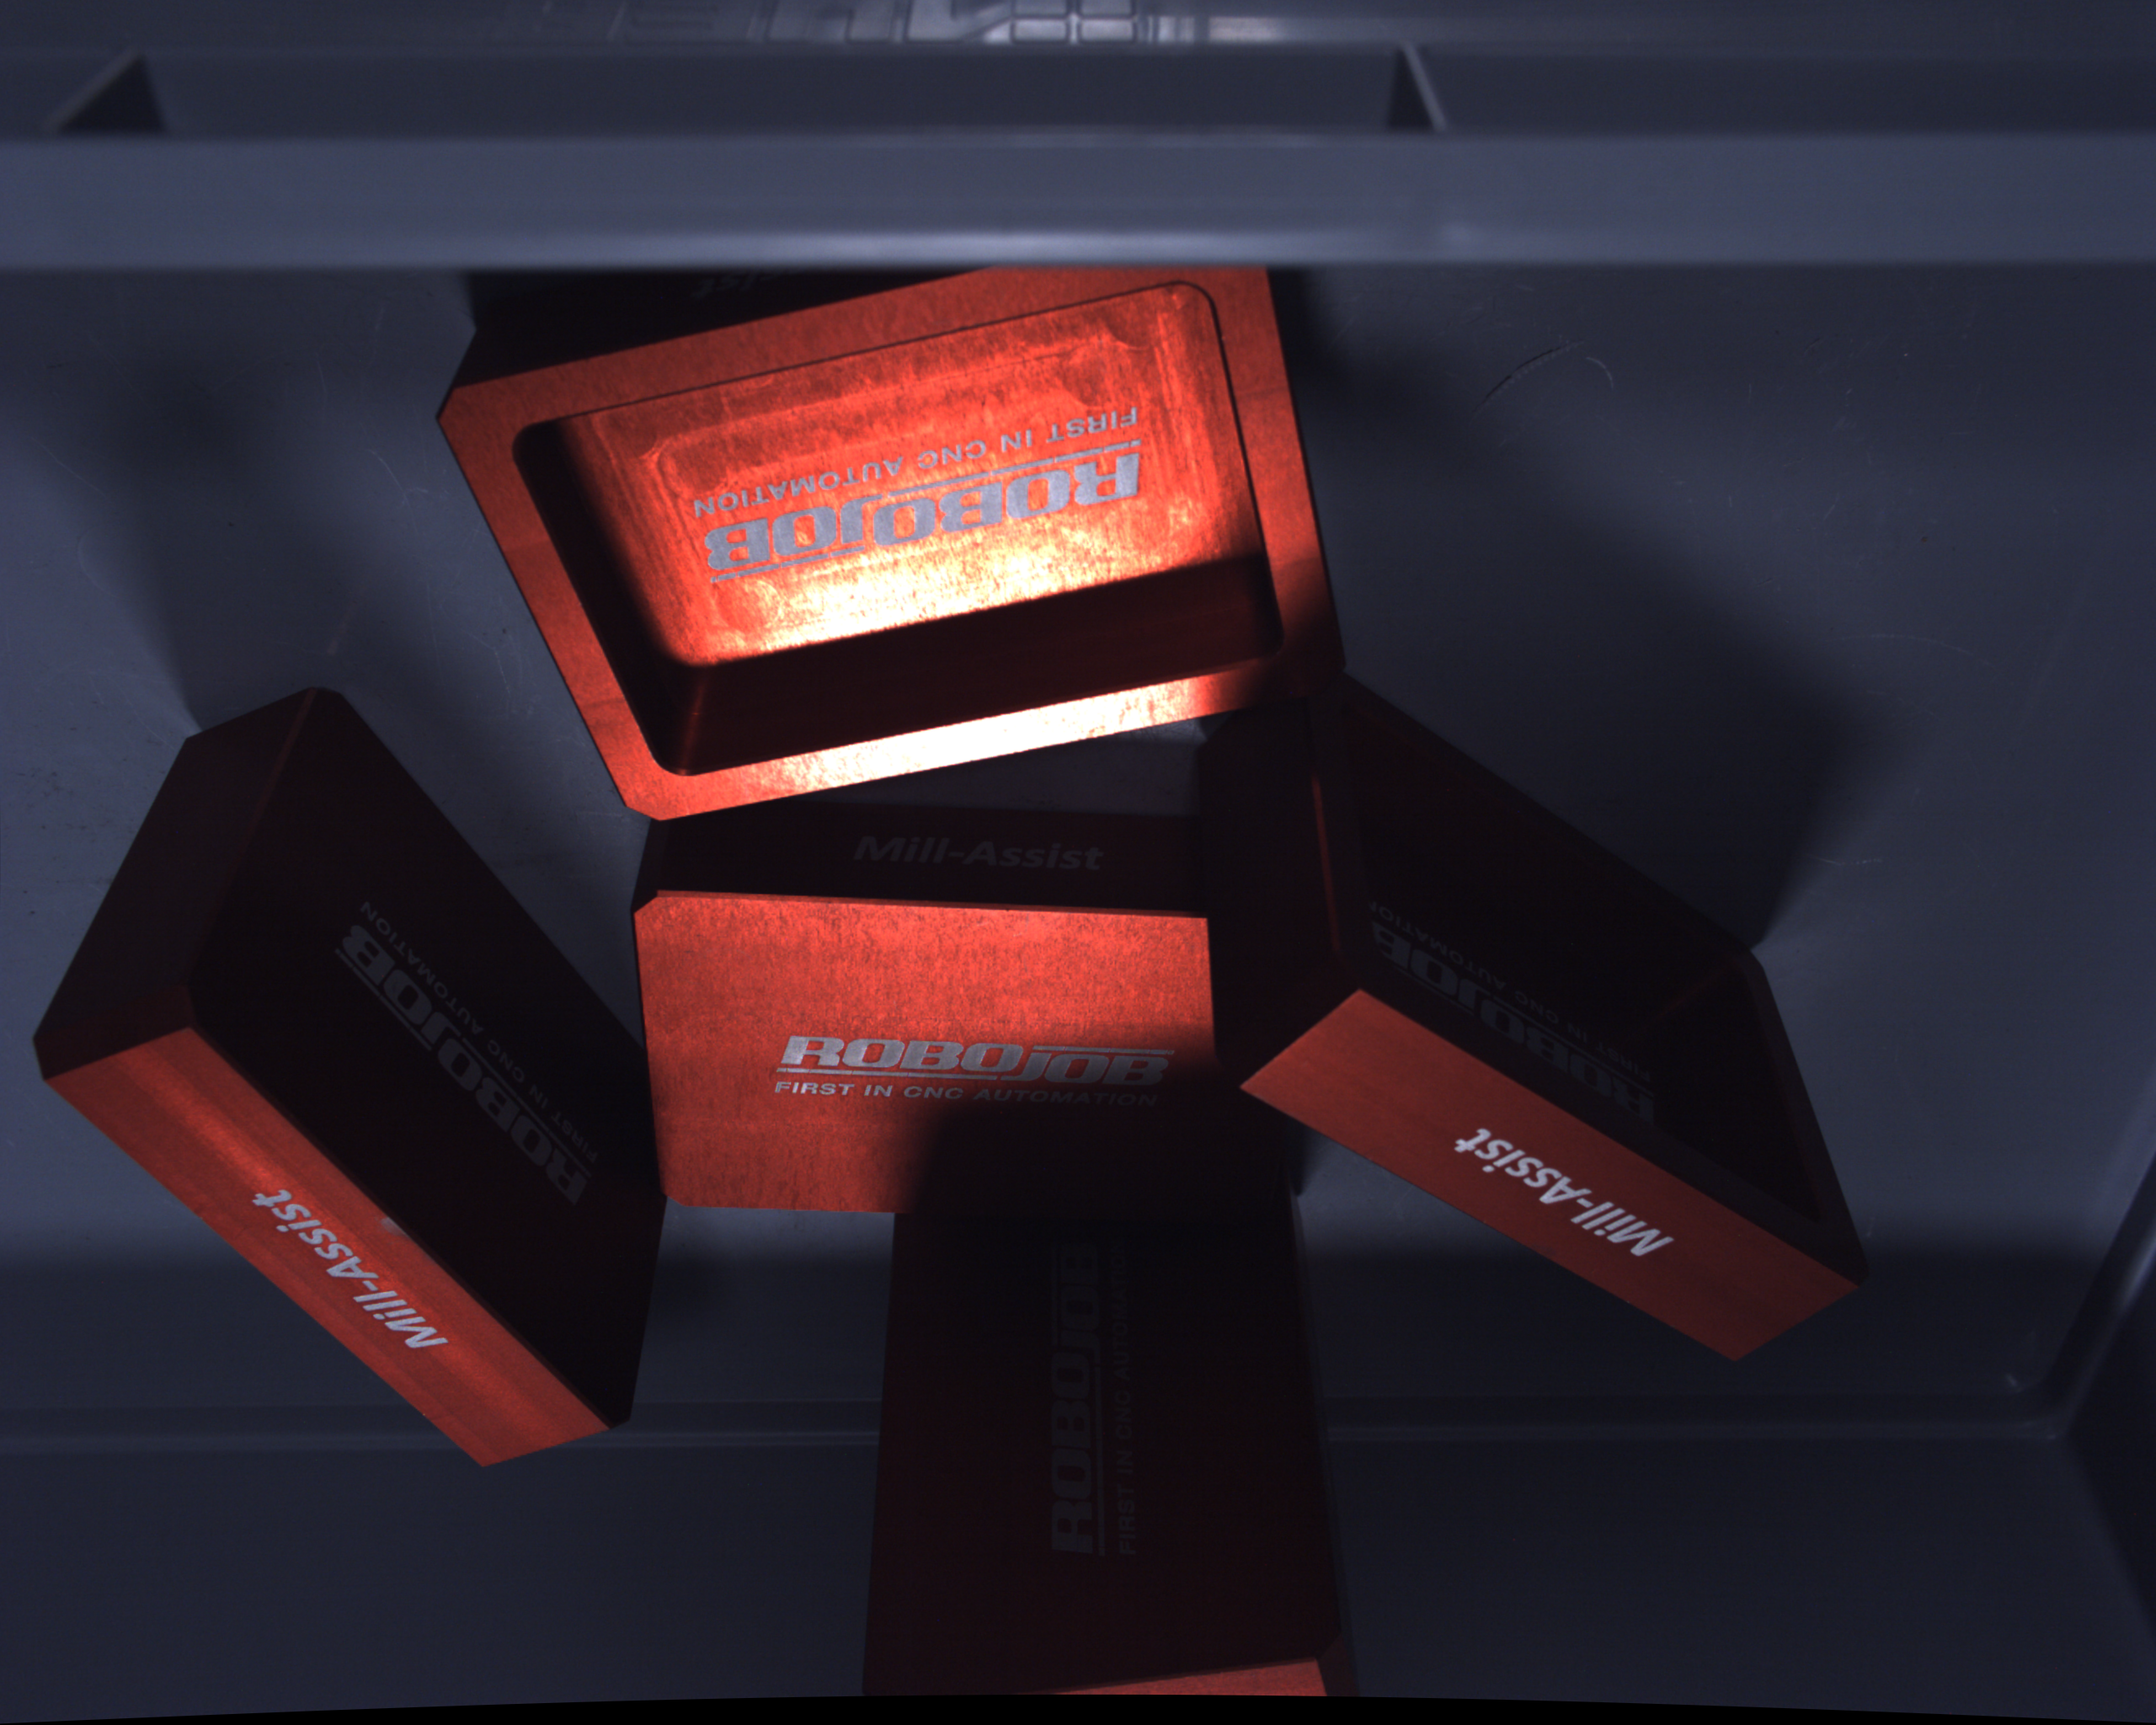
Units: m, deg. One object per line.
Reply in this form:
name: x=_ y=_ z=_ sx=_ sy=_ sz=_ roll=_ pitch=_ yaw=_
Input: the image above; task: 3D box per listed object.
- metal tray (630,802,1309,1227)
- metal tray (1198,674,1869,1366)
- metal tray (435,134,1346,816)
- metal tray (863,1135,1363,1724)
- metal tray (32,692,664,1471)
metal tray: x=-0.021 y=0.033 z=0.430 sx=0.131 sy=0.030 sz=0.089 roll=2 pitch=130 yaw=-3
metal tray: x=0.083 y=0.028 z=0.388 sx=0.131 sy=0.090 sz=0.030 roll=31 pitch=124 yaw=-24
metal tray: x=-0.027 y=-0.061 z=0.351 sx=0.131 sy=0.030 sz=0.090 roll=-10 pitch=130 yaw=8
metal tray: x=0.006 y=0.121 z=0.439 sx=0.090 sy=0.130 sz=0.030 roll=-10 pitch=130 yaw=7
metal tray: x=-0.128 y=0.043 z=0.399 sx=0.030 sy=0.090 sz=0.130 roll=-20 pitch=128 yaw=14
